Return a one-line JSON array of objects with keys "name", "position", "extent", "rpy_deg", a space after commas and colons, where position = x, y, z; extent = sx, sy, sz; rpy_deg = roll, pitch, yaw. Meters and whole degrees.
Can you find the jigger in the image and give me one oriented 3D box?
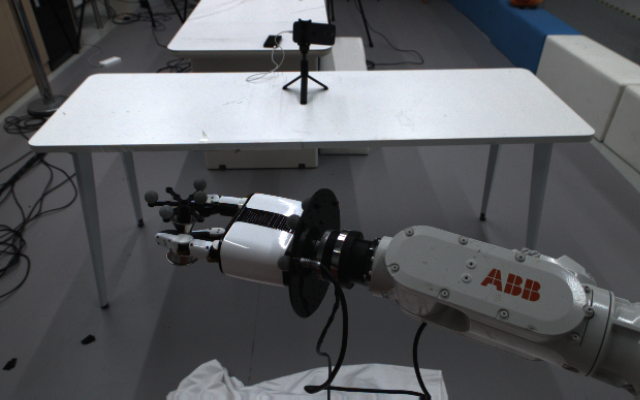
[{"name": "jigger", "position": [-0.183, 0.049, 0.652], "extent": [0.043, 0.071, 0.043], "rpy_deg": [8, 30, -5]}]
